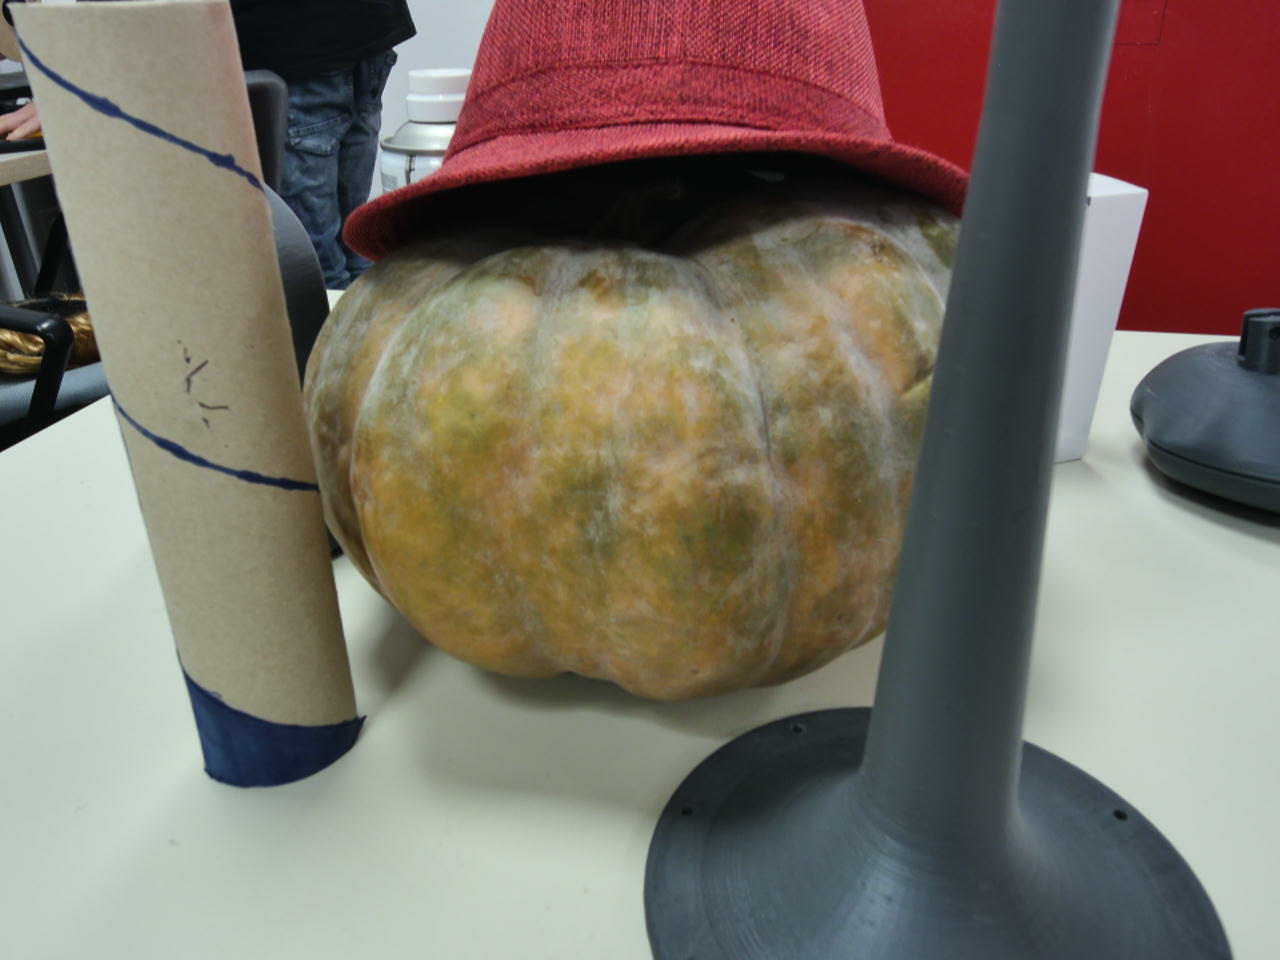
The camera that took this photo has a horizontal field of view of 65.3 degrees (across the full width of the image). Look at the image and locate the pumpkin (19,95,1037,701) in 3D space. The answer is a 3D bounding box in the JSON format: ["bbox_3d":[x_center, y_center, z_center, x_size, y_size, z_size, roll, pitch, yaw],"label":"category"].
[{"bbox_3d":[0.003,-0.027,0.369,0.252,0.169,0.251,0,24,0],"label":"pumpkin"}]
